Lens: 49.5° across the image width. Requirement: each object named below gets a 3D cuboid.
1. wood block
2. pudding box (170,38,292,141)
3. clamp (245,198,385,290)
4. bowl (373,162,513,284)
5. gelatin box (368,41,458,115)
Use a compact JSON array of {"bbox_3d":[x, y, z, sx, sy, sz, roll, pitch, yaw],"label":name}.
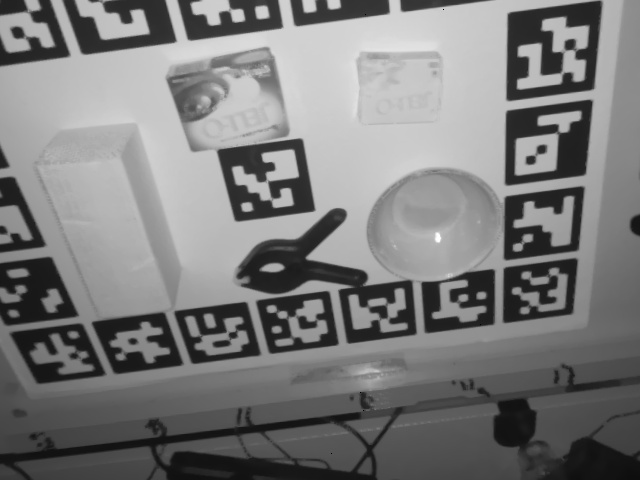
[{"bbox_3d":[-0.233,-0.028,0.768,0.090,0.091,0.204,-4,122,1],"label":"wood block"},{"bbox_3d":[-0.090,-0.157,0.726,0.114,0.039,0.089,-9,118,-1],"label":"pudding box"},{"bbox_3d":[-0.014,0.019,0.853,0.164,0.037,0.121,-15,122,9],"label":"clamp"},{"bbox_3d":[0.142,-0.028,0.819,0.162,0.055,0.160,-1,120,-1],"label":"bowl"},{"bbox_3d":[0.097,-0.170,0.732,0.089,0.030,0.072,0,121,-3],"label":"gelatin box"}]
